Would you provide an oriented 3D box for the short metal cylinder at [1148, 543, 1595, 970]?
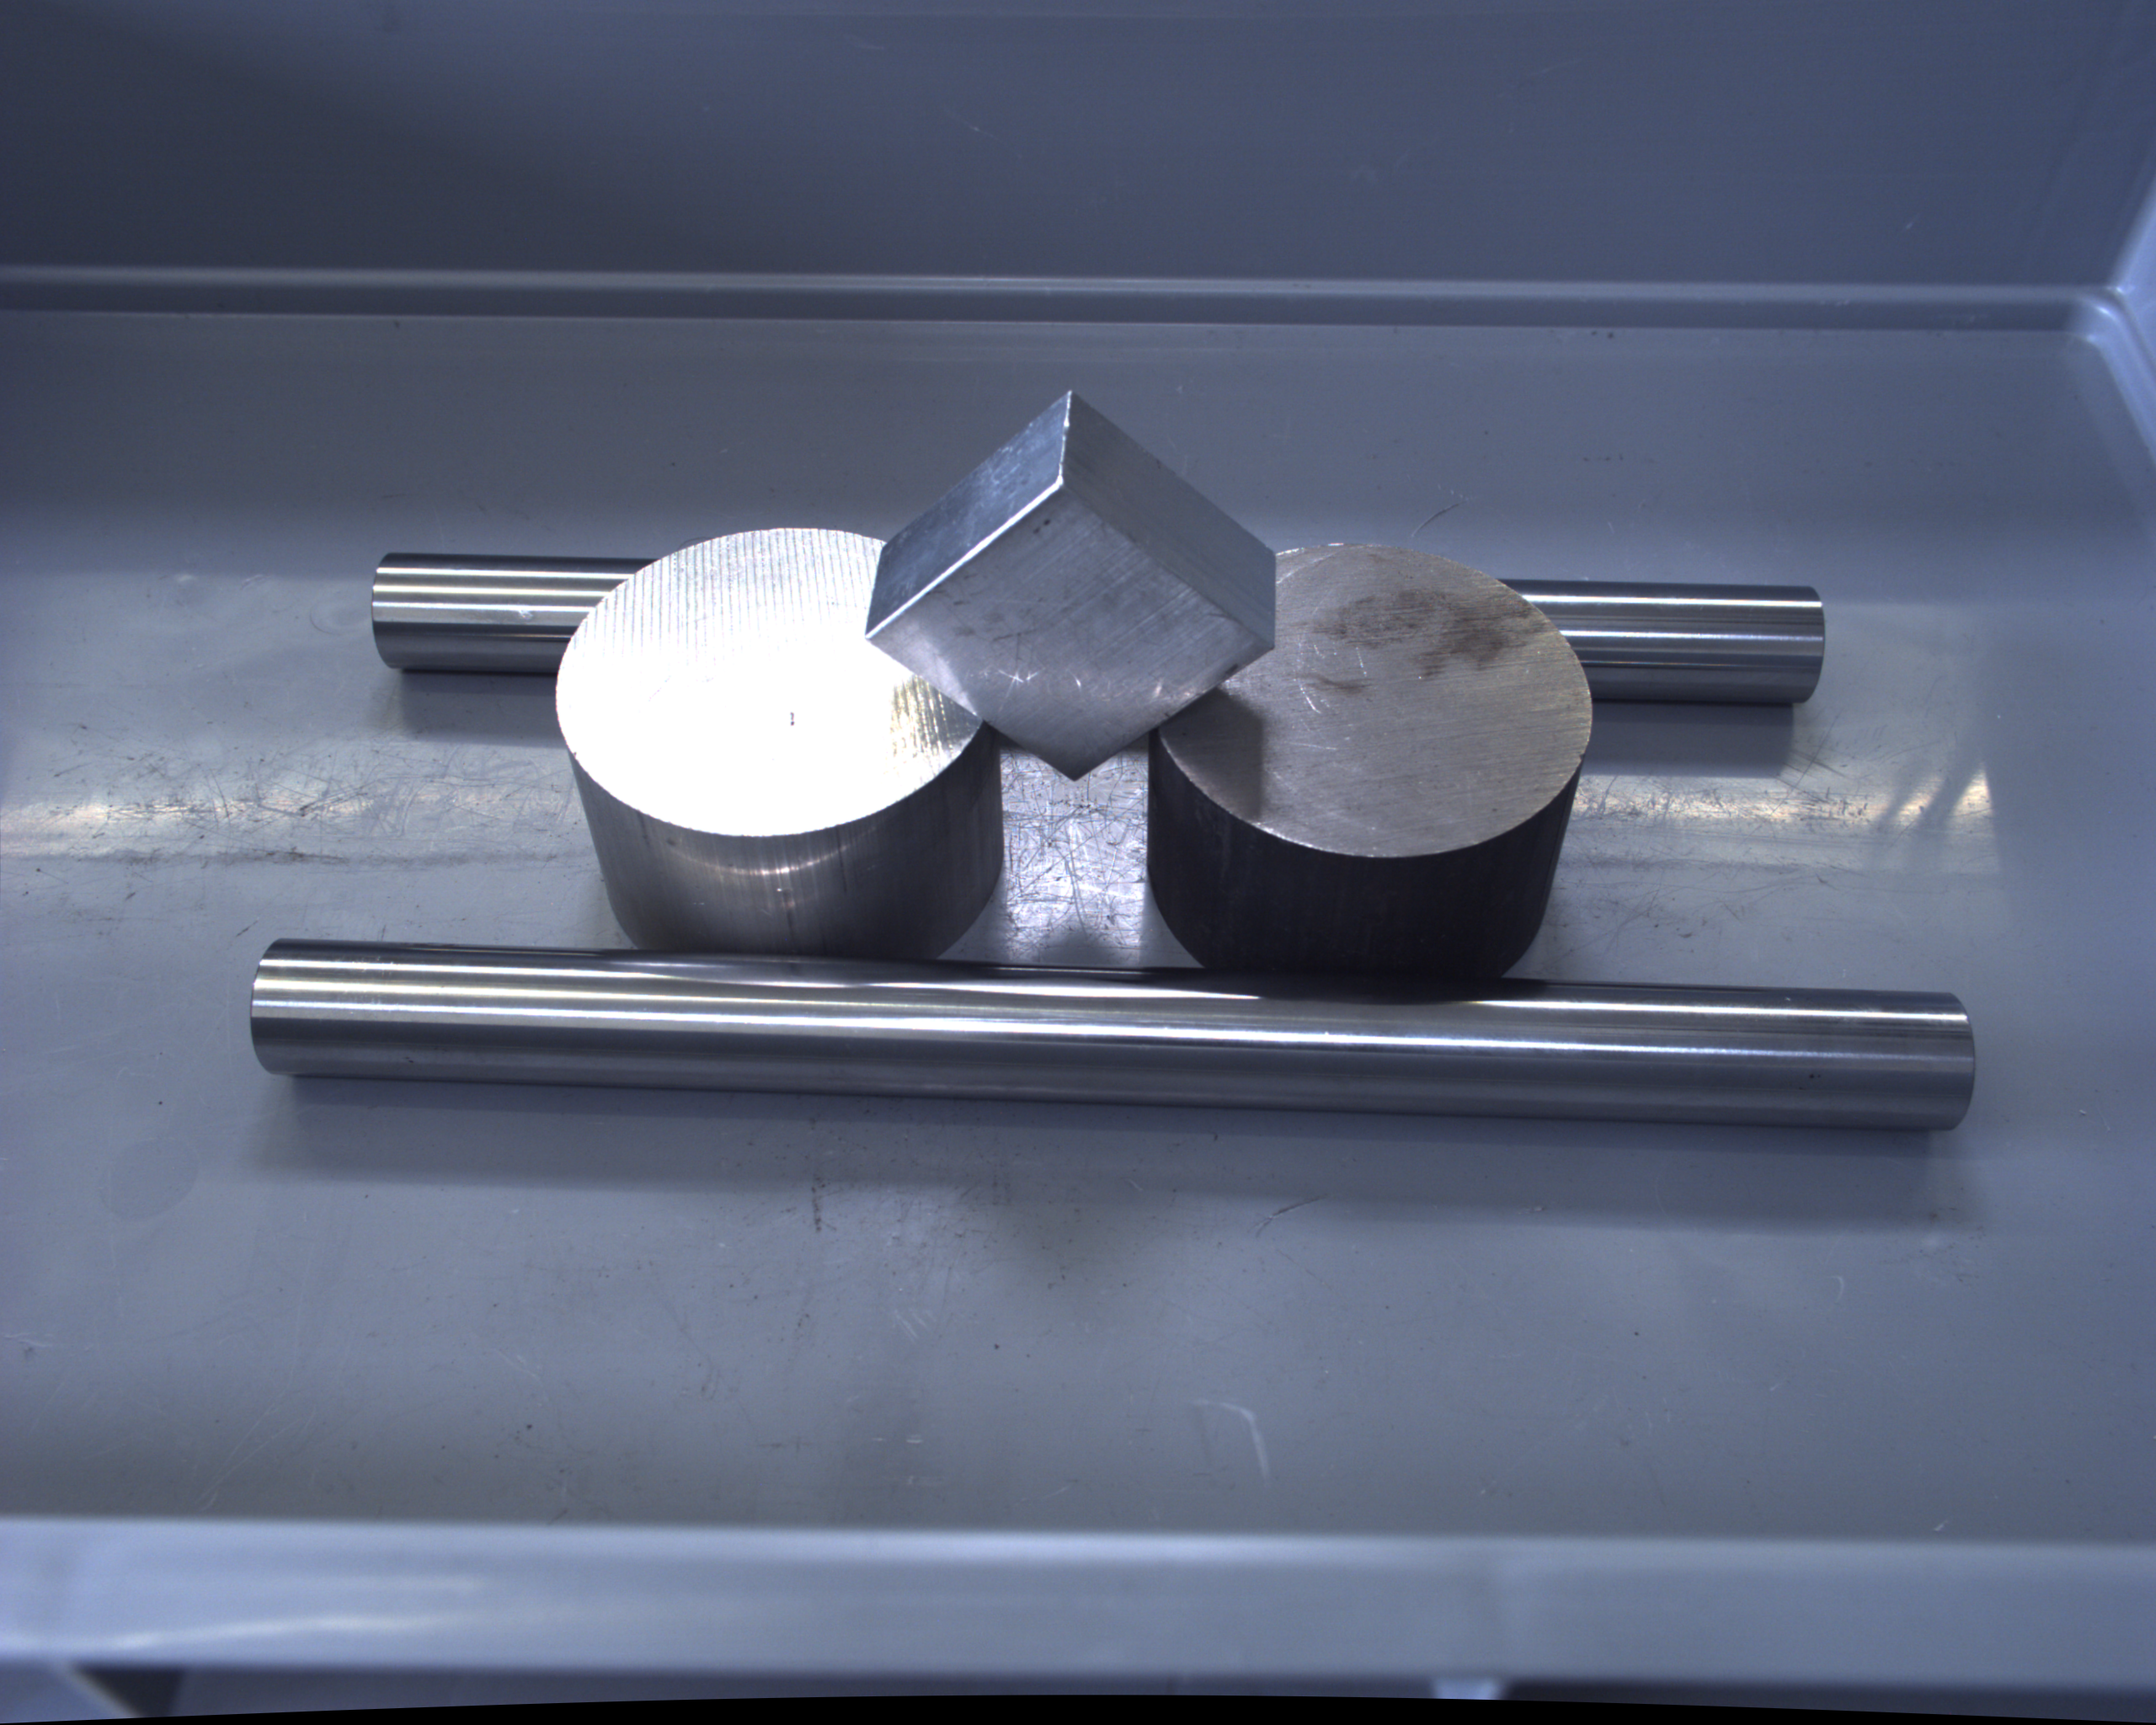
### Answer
[{"bbox_3d":[0.054,-0.016,0.401,0.081,0.050,0.080,0,50,0],"label":"short metal cylinder"}]

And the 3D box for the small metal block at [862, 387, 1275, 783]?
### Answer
[{"bbox_3d":[-0.001,-0.047,0.366,0.050,0.050,0.025,33,42,-30],"label":"small metal block"}]

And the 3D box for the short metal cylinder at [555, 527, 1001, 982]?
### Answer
[{"bbox_3d":[-0.055,-0.019,0.403,0.081,0.050,0.080,0,50,0],"label":"short metal cylinder"}]

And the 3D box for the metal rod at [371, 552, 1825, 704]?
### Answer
[{"bbox_3d":[0.004,-0.050,0.445,0.302,0.025,0.025,2,50,1],"label":"metal rod"}]

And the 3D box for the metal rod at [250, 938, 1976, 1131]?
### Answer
[{"bbox_3d":[0.005,0.031,0.377,0.302,0.025,0.025,2,50,1],"label":"metal rod"}]
